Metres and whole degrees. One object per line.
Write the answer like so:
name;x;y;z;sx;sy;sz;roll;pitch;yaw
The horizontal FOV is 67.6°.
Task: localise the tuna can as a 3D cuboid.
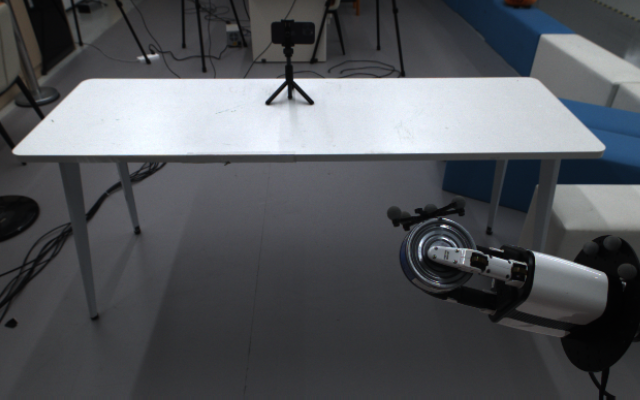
tuna can;0.142;0.062;0.567;0.085;0.034;0.085;0;72;-1
